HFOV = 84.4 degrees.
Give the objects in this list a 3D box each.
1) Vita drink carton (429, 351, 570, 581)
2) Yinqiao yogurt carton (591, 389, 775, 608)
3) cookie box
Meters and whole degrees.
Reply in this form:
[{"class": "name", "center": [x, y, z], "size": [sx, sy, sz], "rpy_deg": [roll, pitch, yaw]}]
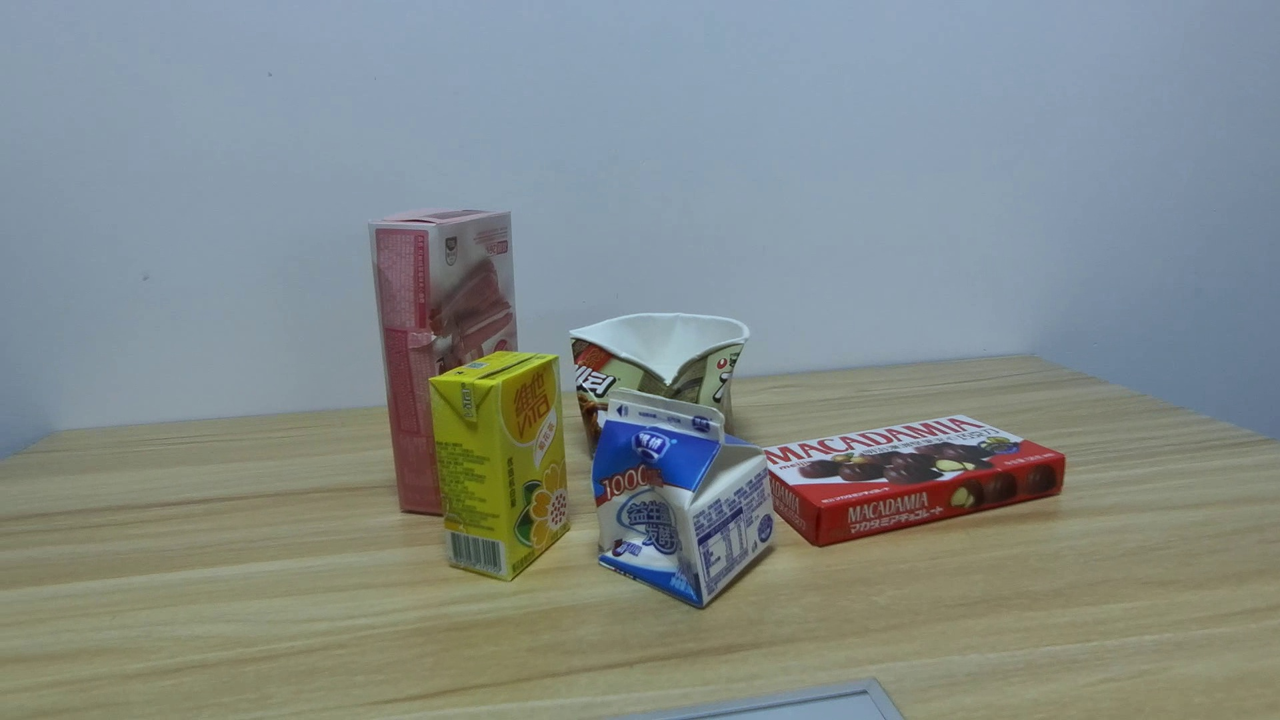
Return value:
[{"class": "Vita drink carton", "center": [-0.075, 0.055, 0.394], "size": [0.043, 0.109, 0.067], "rpy_deg": [4, 16, 24]}, {"class": "Yinqiao yogurt carton", "center": [0.020, 0.063, 0.372], "size": [0.077, 0.094, 0.071], "rpy_deg": [9, 23, 40]}, {"class": "cookie box", "center": [-0.122, -0.002, 0.465], "size": [0.049, 0.187, 0.105], "rpy_deg": [3, 16, 14]}]
